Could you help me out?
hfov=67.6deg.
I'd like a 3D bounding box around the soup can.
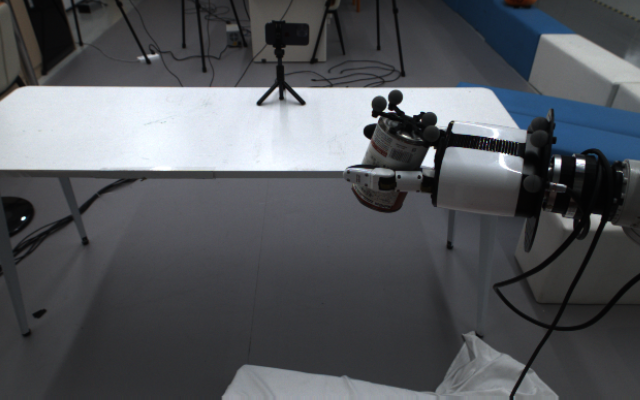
[{"bbox_3d":[0.087,-0.045,0.583,0.067,0.101,0.067,13,34,-9],"label":"soup can"}]
